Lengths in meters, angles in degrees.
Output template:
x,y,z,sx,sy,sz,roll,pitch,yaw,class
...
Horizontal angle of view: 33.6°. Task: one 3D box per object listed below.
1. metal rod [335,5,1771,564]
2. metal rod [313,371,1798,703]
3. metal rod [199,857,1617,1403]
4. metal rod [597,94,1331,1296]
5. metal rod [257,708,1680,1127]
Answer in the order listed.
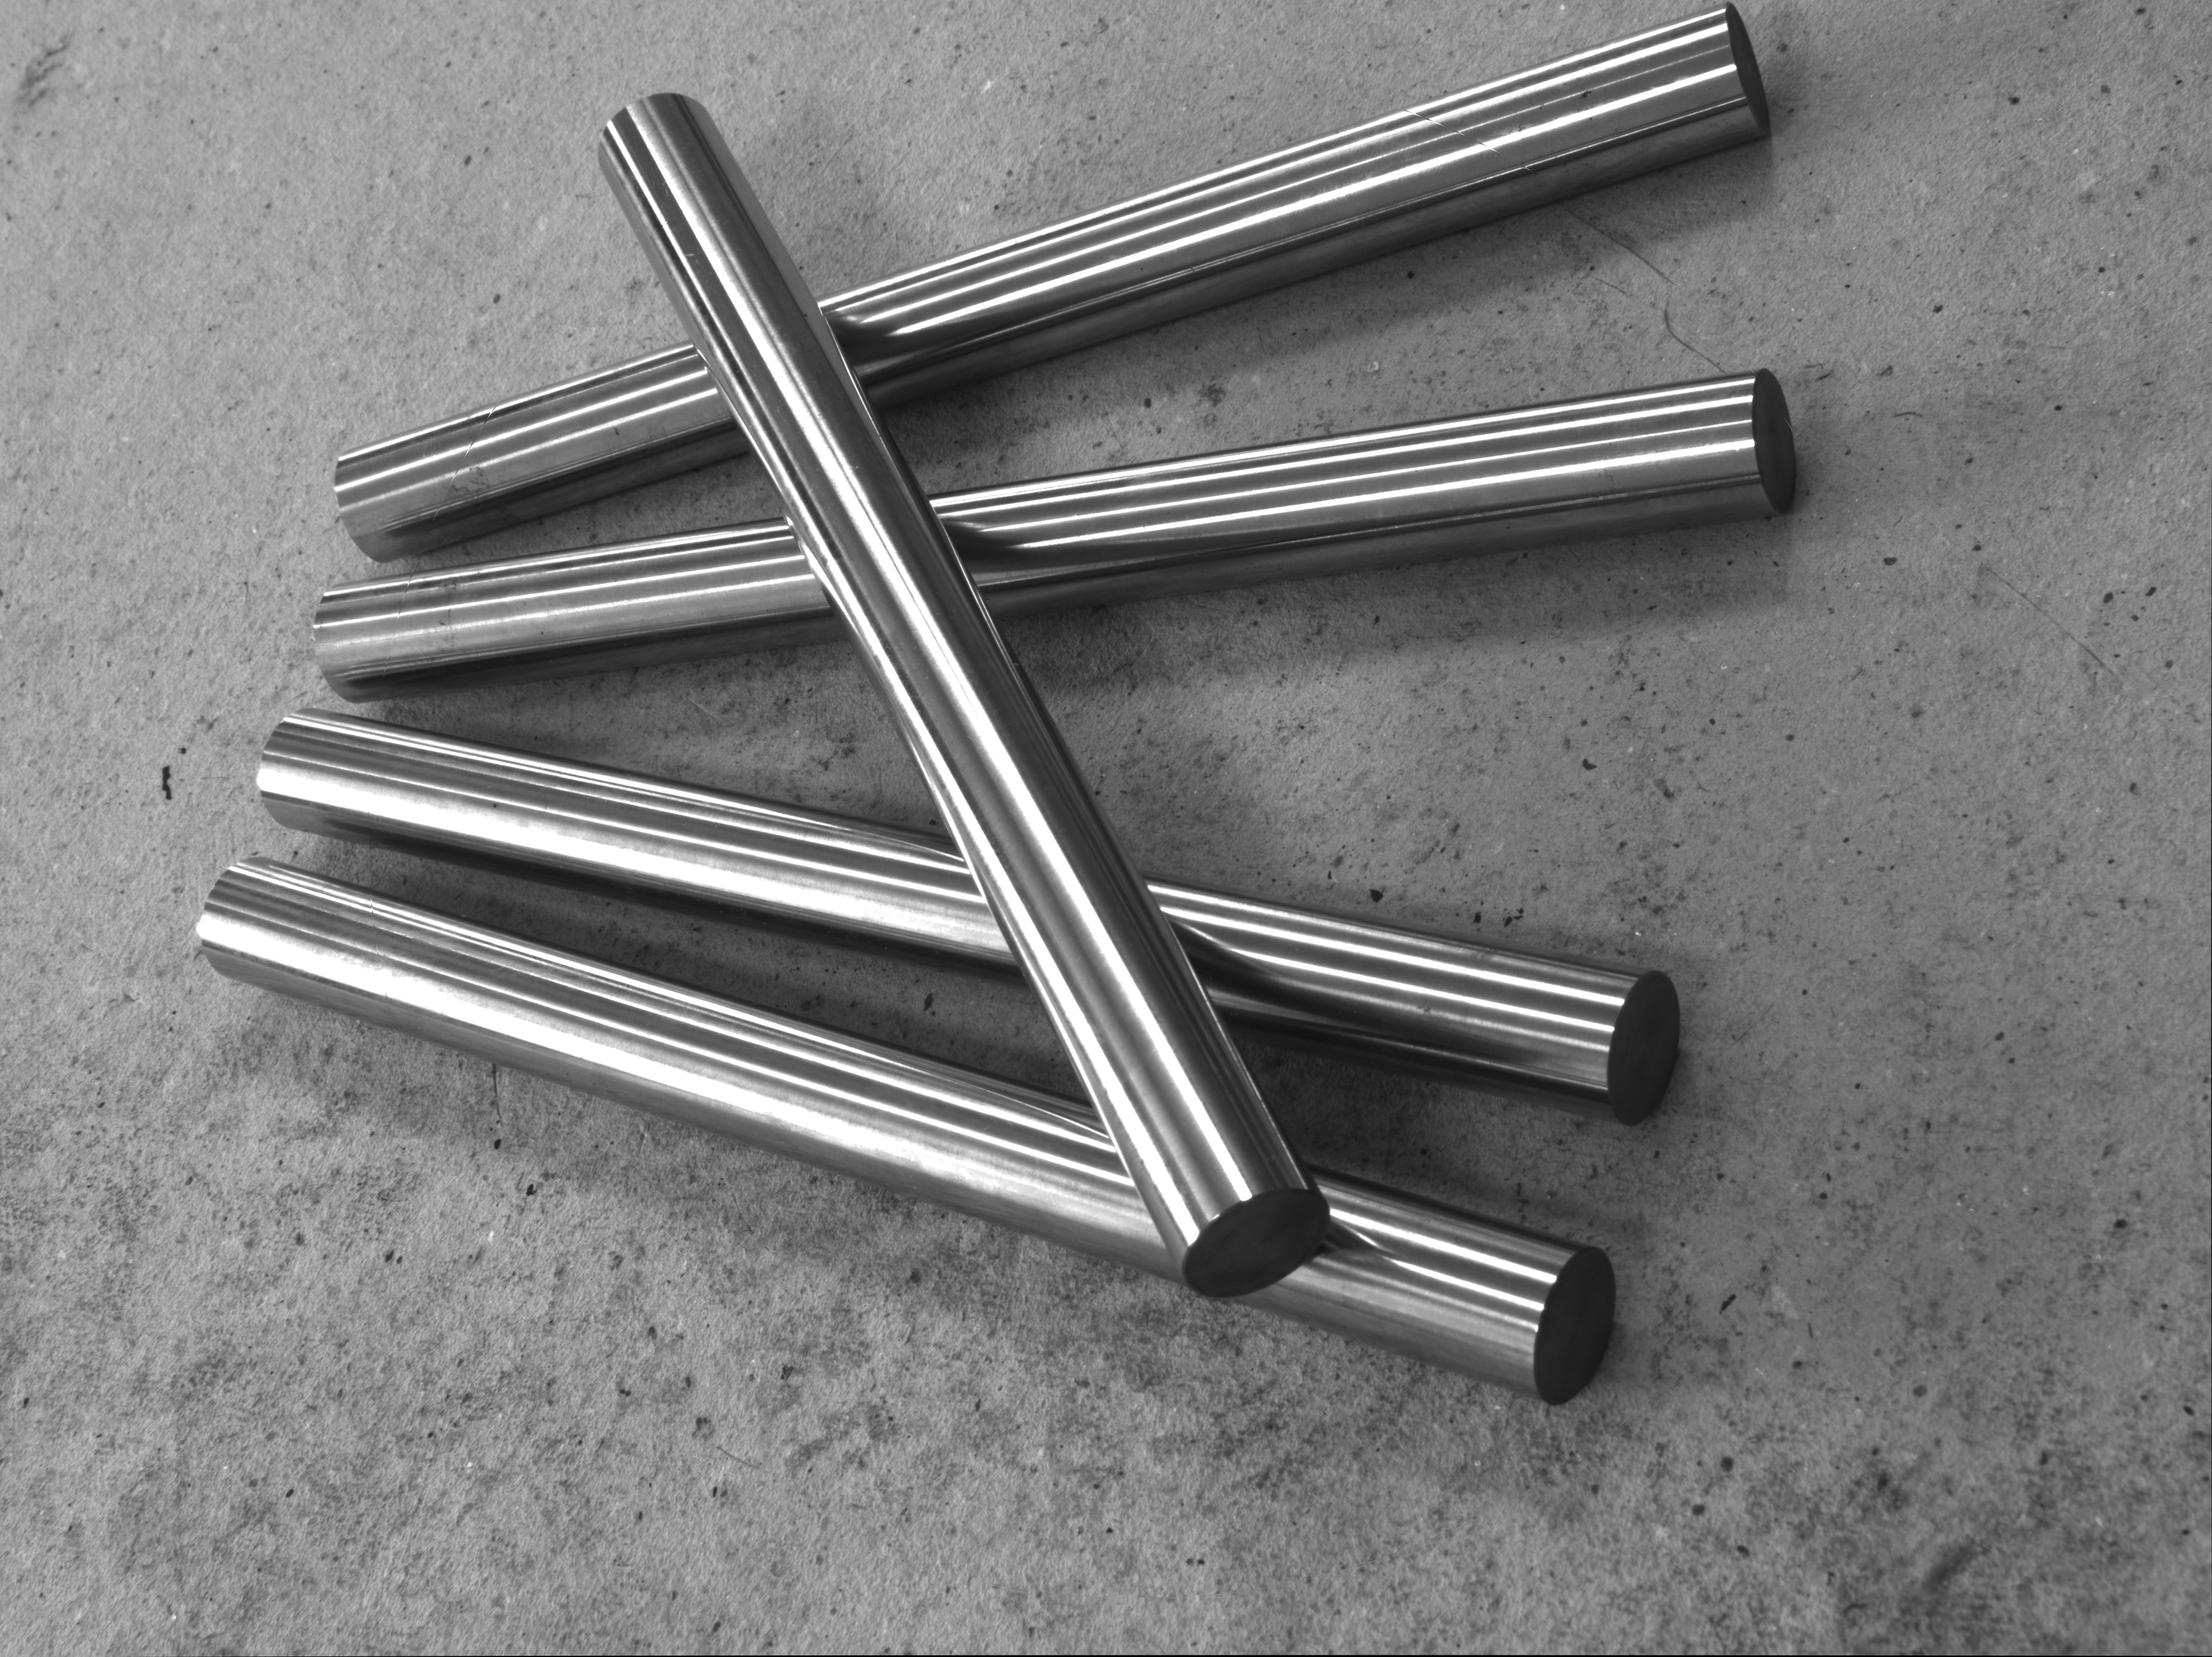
x,y,z,sx,sy,sz,roll,pitch,yaw,class
-0.019,-0.103,0.720,0.299,0.025,0.025,-14,55,20,metal rod
-0.020,-0.052,0.688,0.299,0.025,0.025,-6,59,25,metal rod
-0.049,0.047,0.642,0.299,0.025,0.025,13,69,34,metal rod
-0.034,-0.038,0.654,0.025,0.025,0.299,-34,51,6,metal rod
-0.038,0.011,0.659,0.299,0.025,0.025,11,67,33,metal rod
